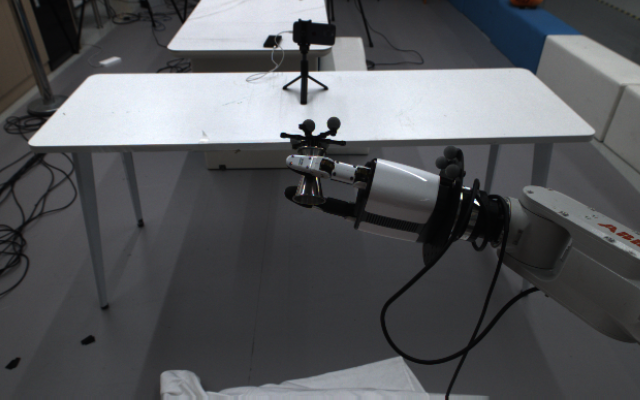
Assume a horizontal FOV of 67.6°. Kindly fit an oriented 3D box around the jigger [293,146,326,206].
[{"bbox_3d":[-0.013,-0.034,0.638,0.043,0.043,0.071,3,75,2],"label":"jigger"}]
